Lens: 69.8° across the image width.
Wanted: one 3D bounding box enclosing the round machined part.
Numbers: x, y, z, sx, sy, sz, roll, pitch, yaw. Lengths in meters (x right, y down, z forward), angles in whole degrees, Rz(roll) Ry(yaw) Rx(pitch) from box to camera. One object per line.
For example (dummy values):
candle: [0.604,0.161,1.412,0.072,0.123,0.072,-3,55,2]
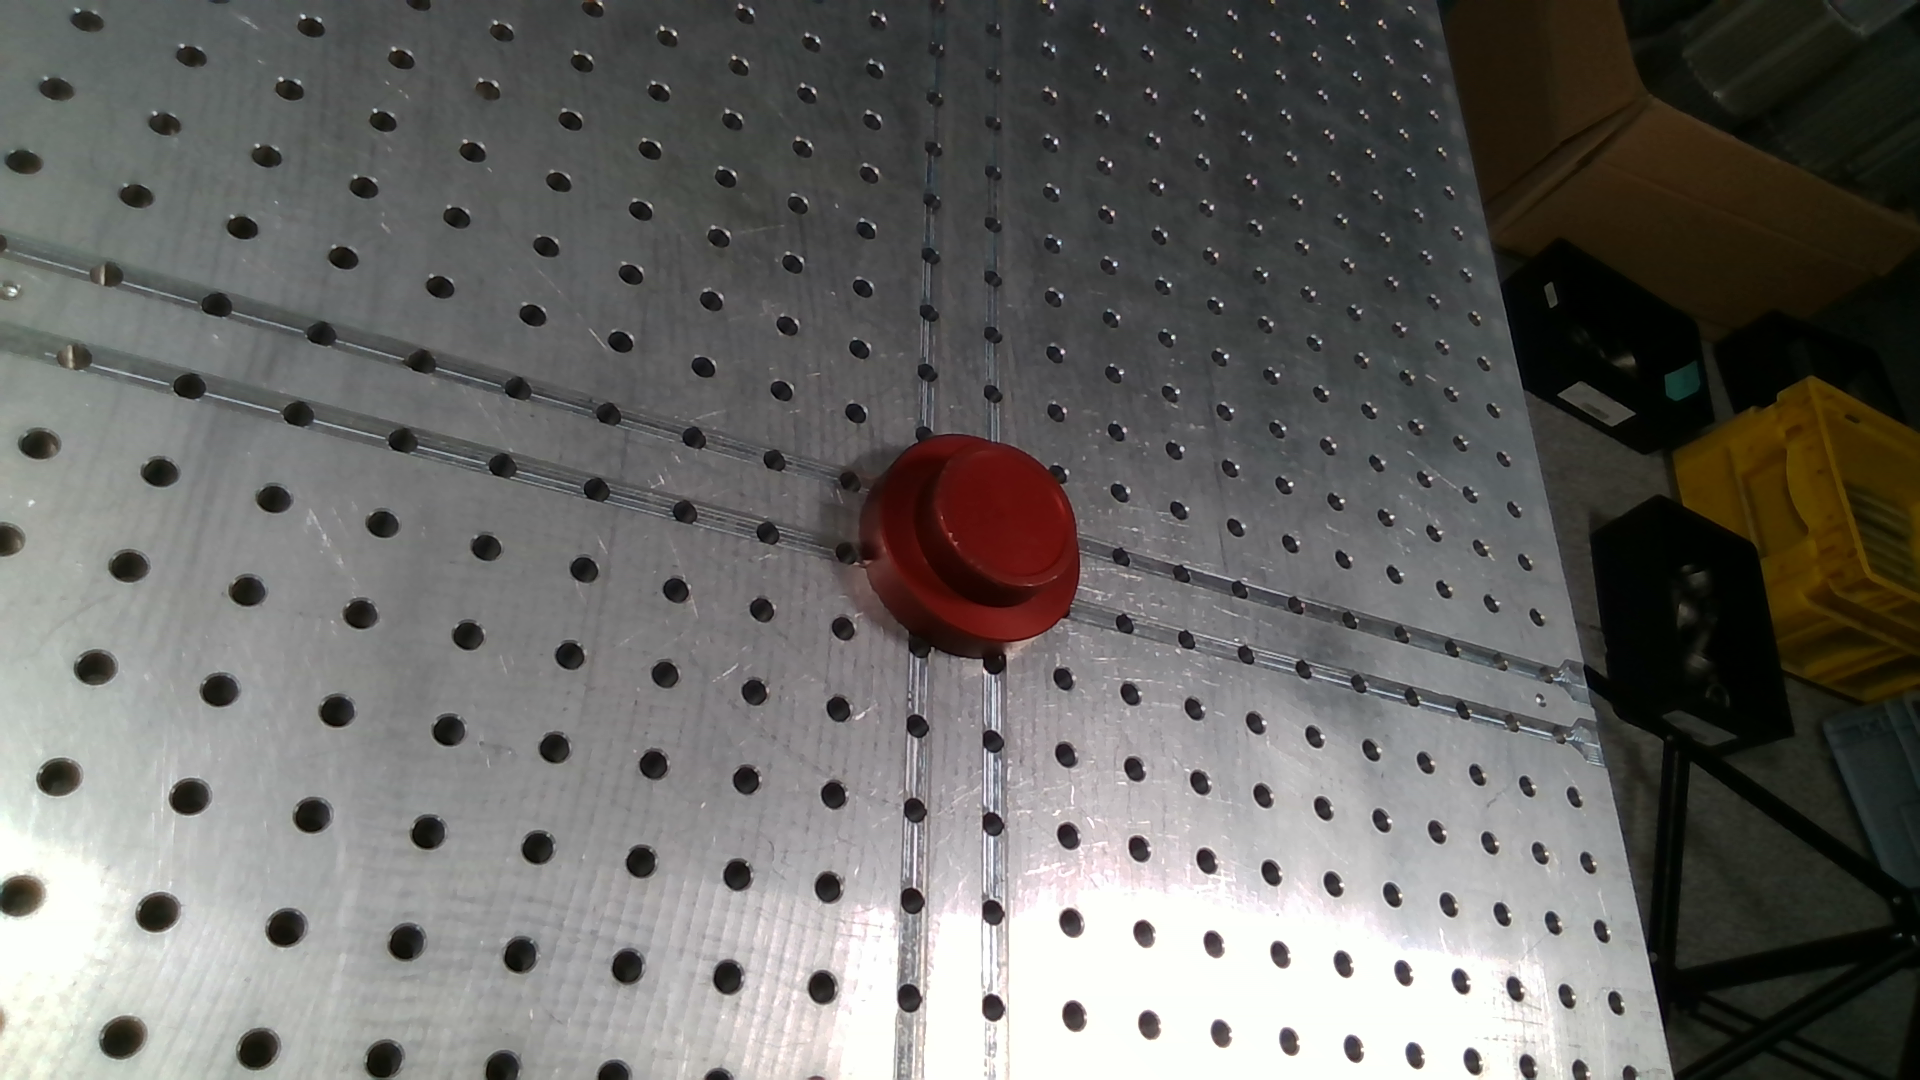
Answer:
round machined part: [0.010,-0.003,0.586,0.098,0.042,0.098,14,59,-25]
